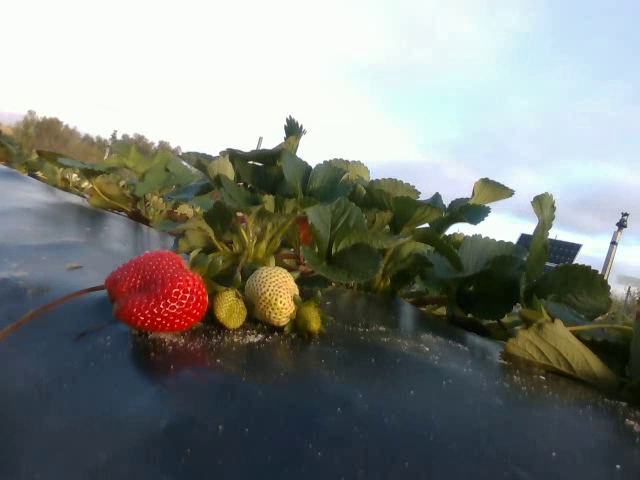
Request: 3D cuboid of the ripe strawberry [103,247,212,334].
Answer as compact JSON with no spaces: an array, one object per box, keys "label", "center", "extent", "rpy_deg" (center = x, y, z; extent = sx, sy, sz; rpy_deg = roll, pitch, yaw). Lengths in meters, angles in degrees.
[{"label":"ripe strawberry","center":[-0.086,0.021,0.315],"extent":[0.050,0.035,0.047],"rpy_deg":[-20,25,-41]}]
